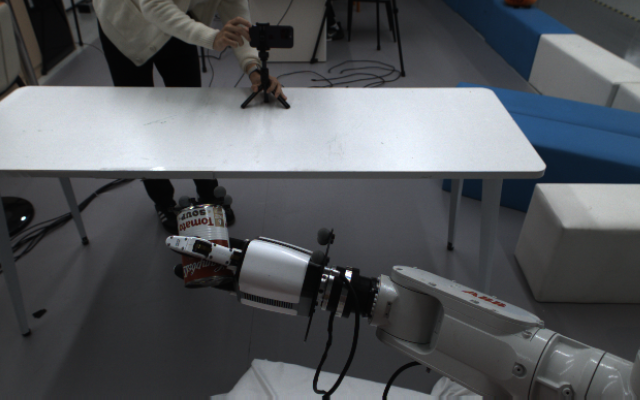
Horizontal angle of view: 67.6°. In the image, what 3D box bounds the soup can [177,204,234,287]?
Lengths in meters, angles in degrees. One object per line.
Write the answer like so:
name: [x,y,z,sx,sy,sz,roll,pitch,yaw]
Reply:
soup can: [-0.156,0.065,0.663,0.067,0.067,0.101,-8,73,-14]
